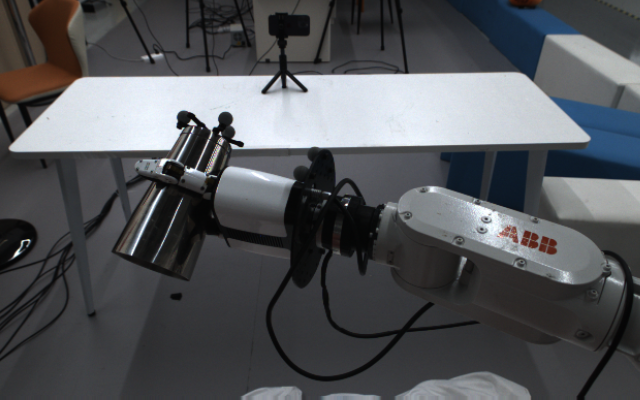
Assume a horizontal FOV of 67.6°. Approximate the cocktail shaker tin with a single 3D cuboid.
[{"bbox_3d":[-0.167,0.001,0.578,0.093,0.093,0.170,13,70,15],"label":"cocktail shaker tin"}]
